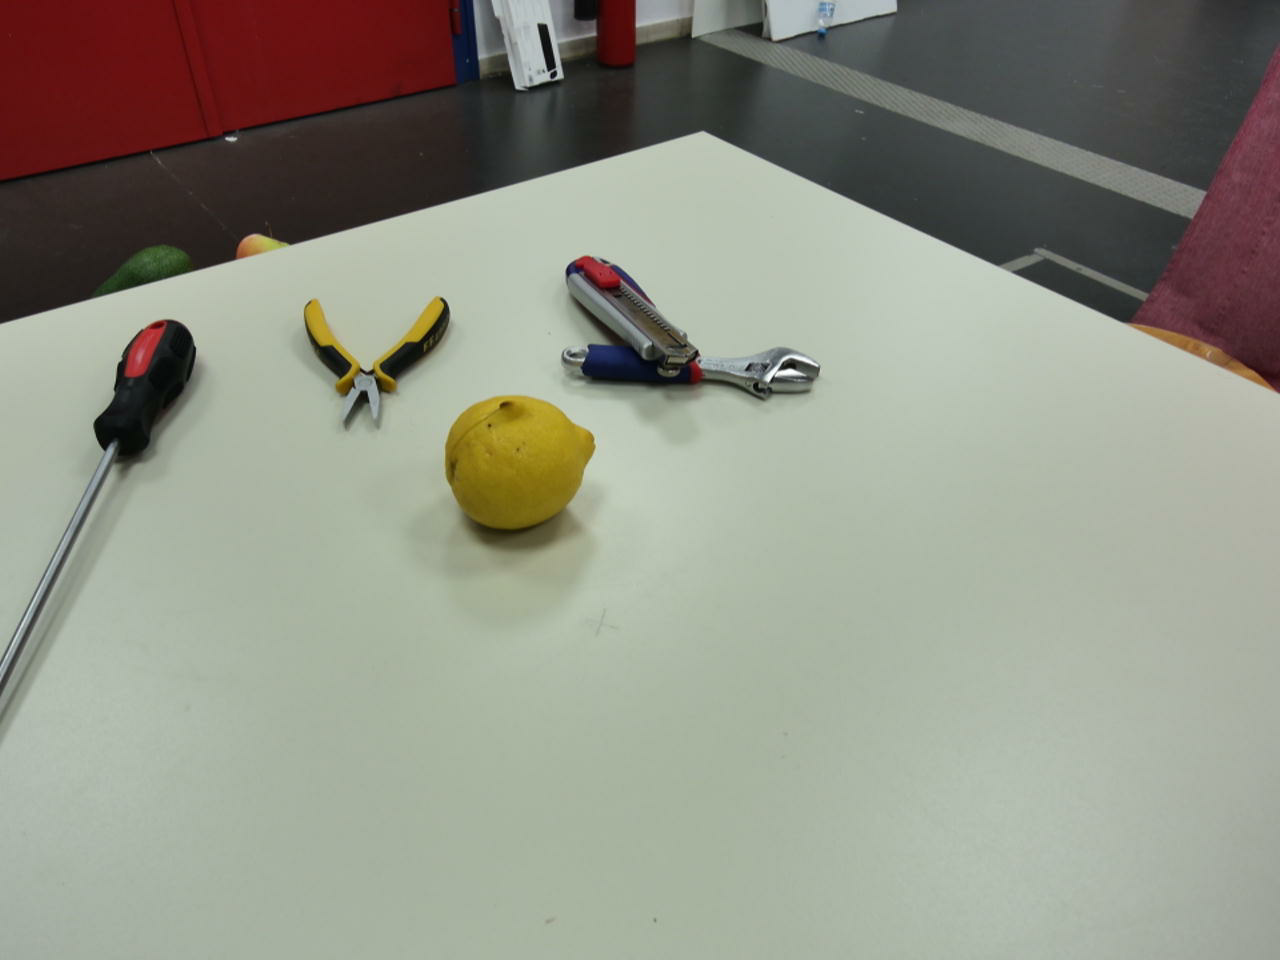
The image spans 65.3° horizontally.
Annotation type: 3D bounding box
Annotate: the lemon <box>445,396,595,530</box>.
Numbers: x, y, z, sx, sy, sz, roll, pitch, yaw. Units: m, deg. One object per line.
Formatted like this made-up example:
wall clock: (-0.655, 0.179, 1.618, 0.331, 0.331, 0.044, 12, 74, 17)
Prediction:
lemon: (-0.064, -0.012, 0.504, 0.071, 0.071, 0.070, 12, 39, 14)
